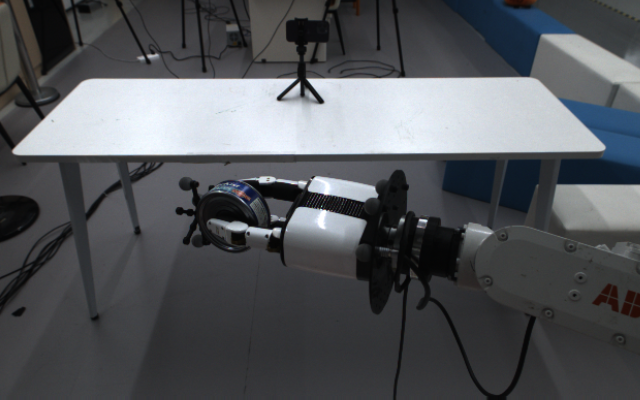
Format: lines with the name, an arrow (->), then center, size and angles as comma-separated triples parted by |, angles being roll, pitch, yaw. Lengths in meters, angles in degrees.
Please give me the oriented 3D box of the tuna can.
tuna can -> -0.103, 0.018, 0.587 | 0.085, 0.085, 0.034 | 12, 28, 14
